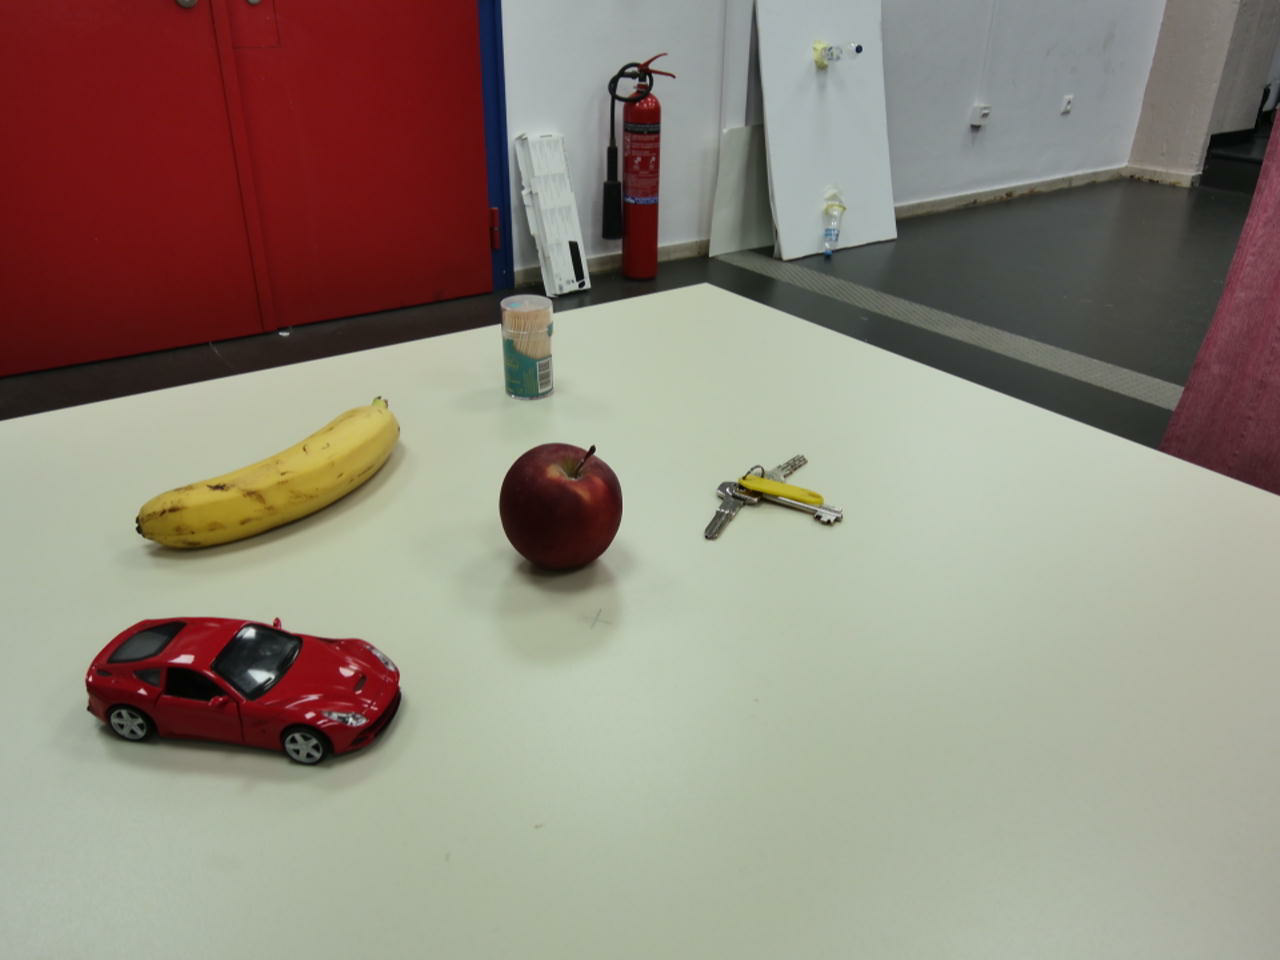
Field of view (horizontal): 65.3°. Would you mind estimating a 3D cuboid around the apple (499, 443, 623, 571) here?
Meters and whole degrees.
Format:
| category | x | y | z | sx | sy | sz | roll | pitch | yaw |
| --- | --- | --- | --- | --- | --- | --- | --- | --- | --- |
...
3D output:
| category | x | y | z | sx | sy | sz | roll | pitch | yaw |
| --- | --- | --- | --- | --- | --- | --- | --- | --- | --- |
| apple | -0.044 | 0.015 | 0.562 | 0.070 | 0.072 | 0.070 | 1 | 26 | 0 |
